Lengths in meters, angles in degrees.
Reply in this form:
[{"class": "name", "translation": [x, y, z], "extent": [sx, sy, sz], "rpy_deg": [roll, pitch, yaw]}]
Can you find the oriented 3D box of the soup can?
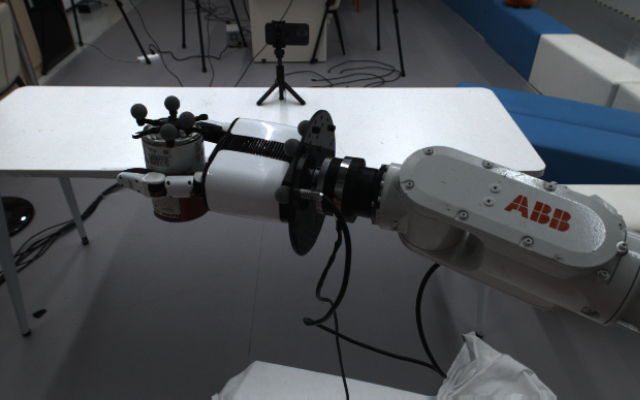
[{"class": "soup can", "translation": [-0.164, -0.033, 0.562], "extent": [0.067, 0.101, 0.067], "rpy_deg": [2, 32, -1]}]
